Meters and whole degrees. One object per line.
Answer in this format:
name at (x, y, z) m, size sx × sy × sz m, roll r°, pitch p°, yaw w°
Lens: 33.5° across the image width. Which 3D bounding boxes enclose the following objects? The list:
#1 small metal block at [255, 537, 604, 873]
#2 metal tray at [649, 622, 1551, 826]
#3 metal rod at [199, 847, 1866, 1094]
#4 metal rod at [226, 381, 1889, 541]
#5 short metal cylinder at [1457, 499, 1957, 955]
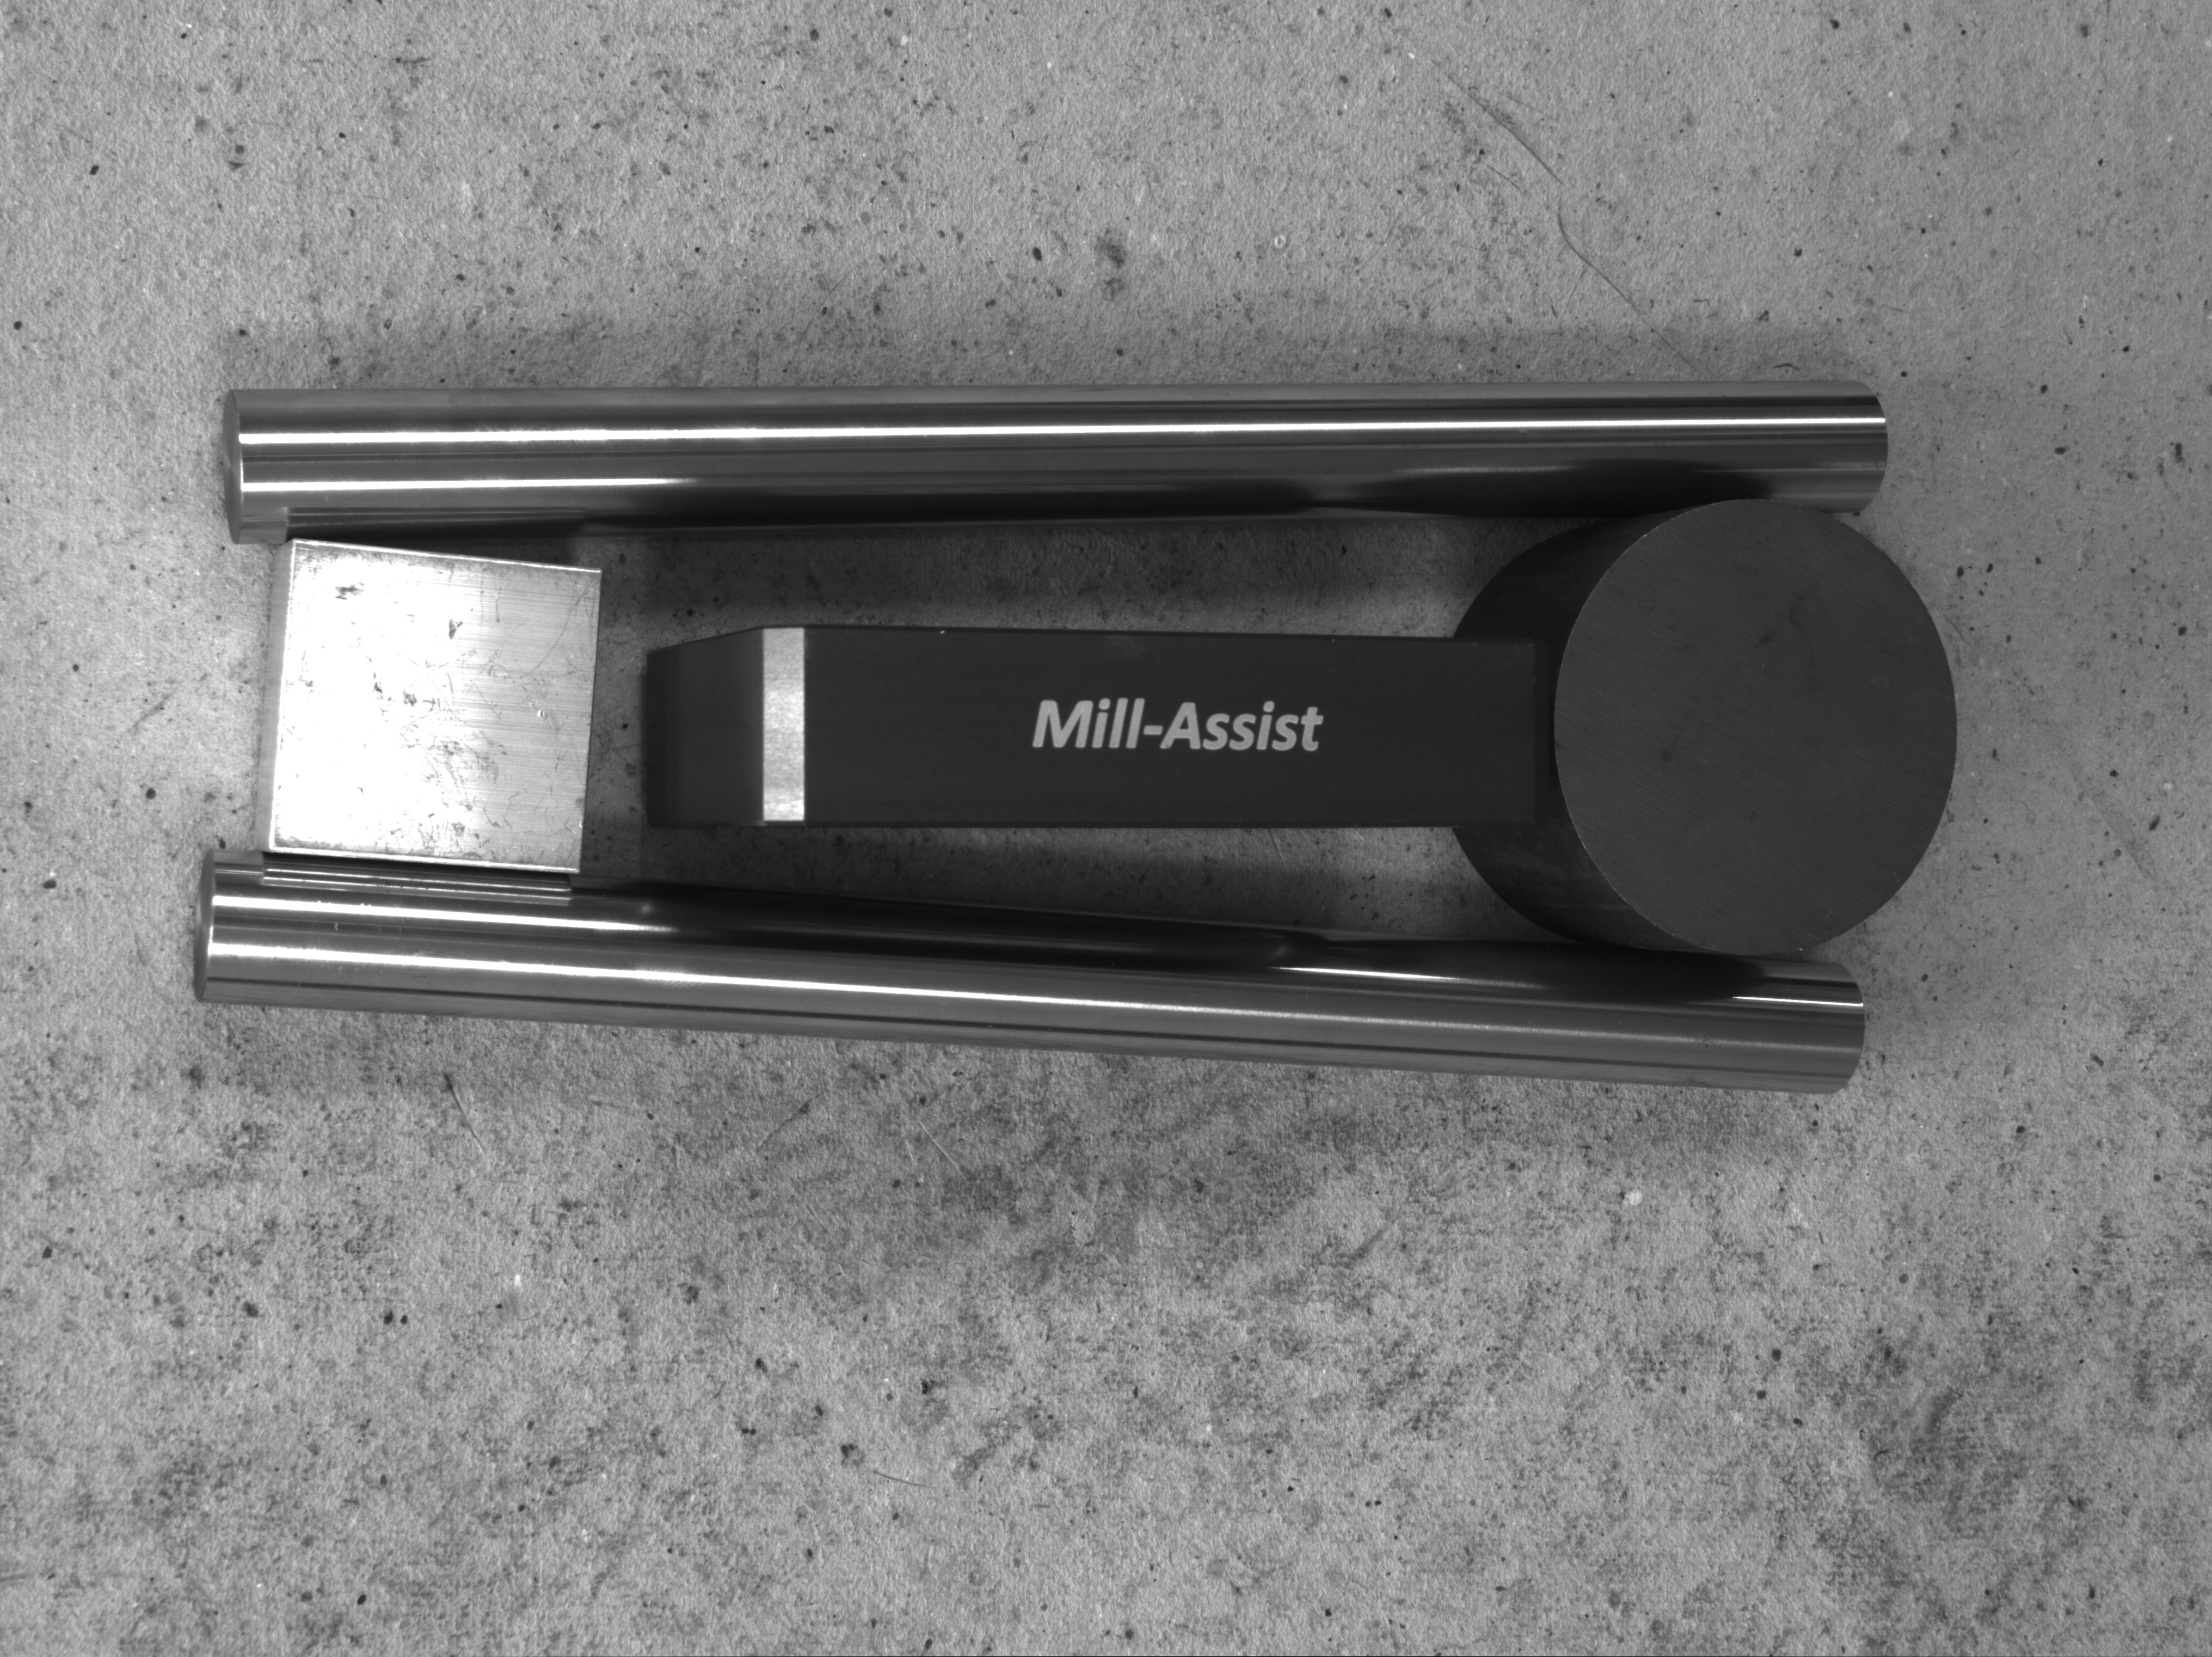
small metal block at (-0.112, -0.020, 0.604) m, size 0.050 × 0.025 × 0.050 m, roll 5°, pitch 88°, yaw -20°
metal tray at (-0.003, -0.015, 0.607) m, size 0.130 × 0.090 × 0.030 m, roll 0°, pitch 90°, yaw -19°
metal rod at (-0.004, 0.027, 0.642) m, size 0.301 × 0.025 × 0.025 m, roll 5°, pitch 88°, yaw -20°
metal rod at (0.000, -0.065, 0.644) m, size 0.301 × 0.025 × 0.025 m, roll -3°, pitch 91°, yaw -20°
short metal cylinder at (0.106, -0.018, 0.668) m, size 0.080 × 0.050 × 0.080 m, roll 0°, pitch 90°, yaw -20°
